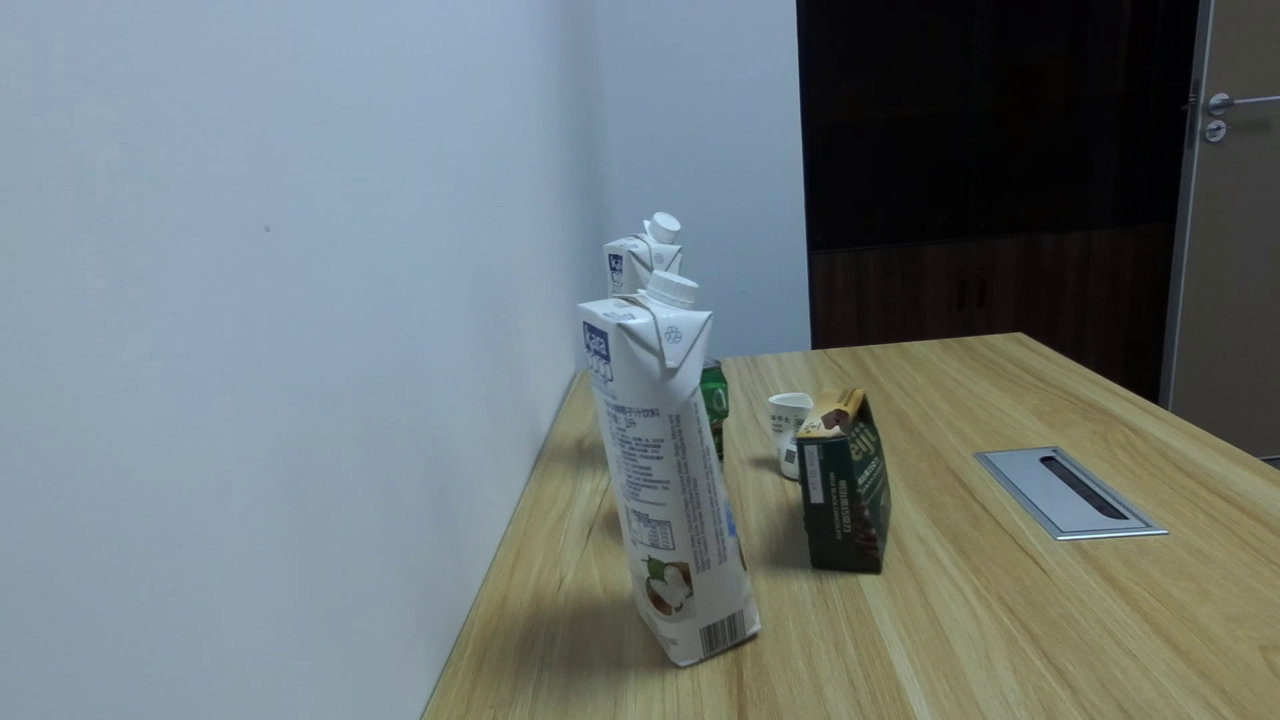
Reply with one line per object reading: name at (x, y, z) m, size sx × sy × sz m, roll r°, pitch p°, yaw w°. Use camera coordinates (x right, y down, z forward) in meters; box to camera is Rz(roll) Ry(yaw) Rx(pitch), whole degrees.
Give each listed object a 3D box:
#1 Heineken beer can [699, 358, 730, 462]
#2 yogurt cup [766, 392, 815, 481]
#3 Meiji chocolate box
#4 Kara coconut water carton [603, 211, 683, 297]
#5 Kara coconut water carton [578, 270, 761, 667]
Heineken beer can at (0.033, 0.075, 0.591) m, size 0.079 × 0.159 × 0.067 m, roll 2°, pitch 10°, yaw 2°
yogurt cup at (0.164, 0.076, 0.702) m, size 0.075 × 0.071 × 0.054 m, roll 1°, pitch 20°, yaw 29°
Meiji chocolate box at (0.162, 0.092, 0.559) m, size 0.058 × 0.110 × 0.113 m, roll -7°, pitch 12°, yaw 20°
Kara coconut water carton at (0.009, -0.018, 0.723) m, size 0.078 × 0.255 × 0.083 m, roll -4°, pitch 19°, yaw -5°
Kara coconut water carton at (0.019, 0.066, 0.448) m, size 0.071 × 0.244 × 0.099 m, roll -16°, pitch 21°, yaw -21°
